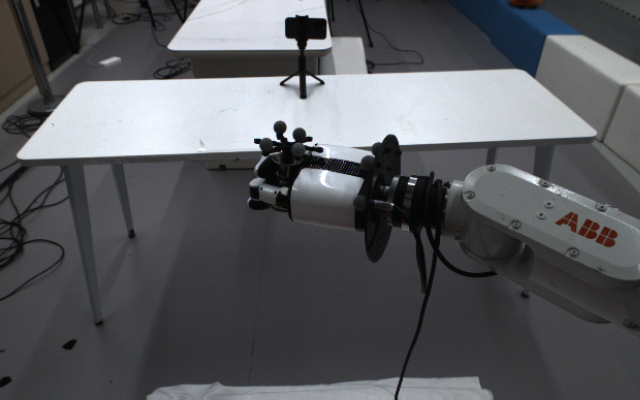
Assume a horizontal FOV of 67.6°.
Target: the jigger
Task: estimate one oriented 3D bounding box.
[{"bbox_3d":[-0.043,-0.023,0.637,0.043,0.071,0.043,6,26,-3],"label":"jigger"}]
